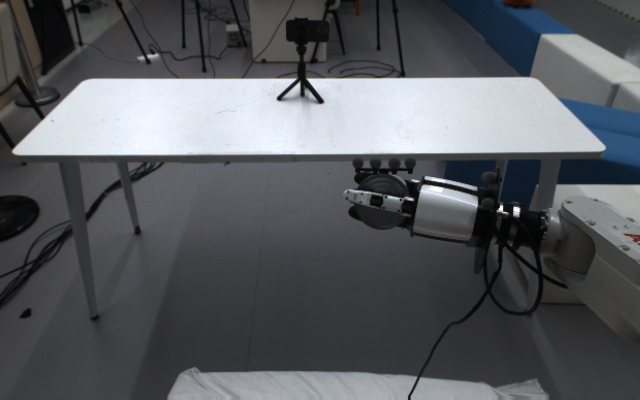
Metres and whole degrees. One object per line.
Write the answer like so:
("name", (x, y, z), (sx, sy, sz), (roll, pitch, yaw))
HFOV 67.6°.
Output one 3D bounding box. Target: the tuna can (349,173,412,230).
("tuna can", (0.098, 0.001, 0.742), (0.085, 0.085, 0.034), (12, 8, 14))
